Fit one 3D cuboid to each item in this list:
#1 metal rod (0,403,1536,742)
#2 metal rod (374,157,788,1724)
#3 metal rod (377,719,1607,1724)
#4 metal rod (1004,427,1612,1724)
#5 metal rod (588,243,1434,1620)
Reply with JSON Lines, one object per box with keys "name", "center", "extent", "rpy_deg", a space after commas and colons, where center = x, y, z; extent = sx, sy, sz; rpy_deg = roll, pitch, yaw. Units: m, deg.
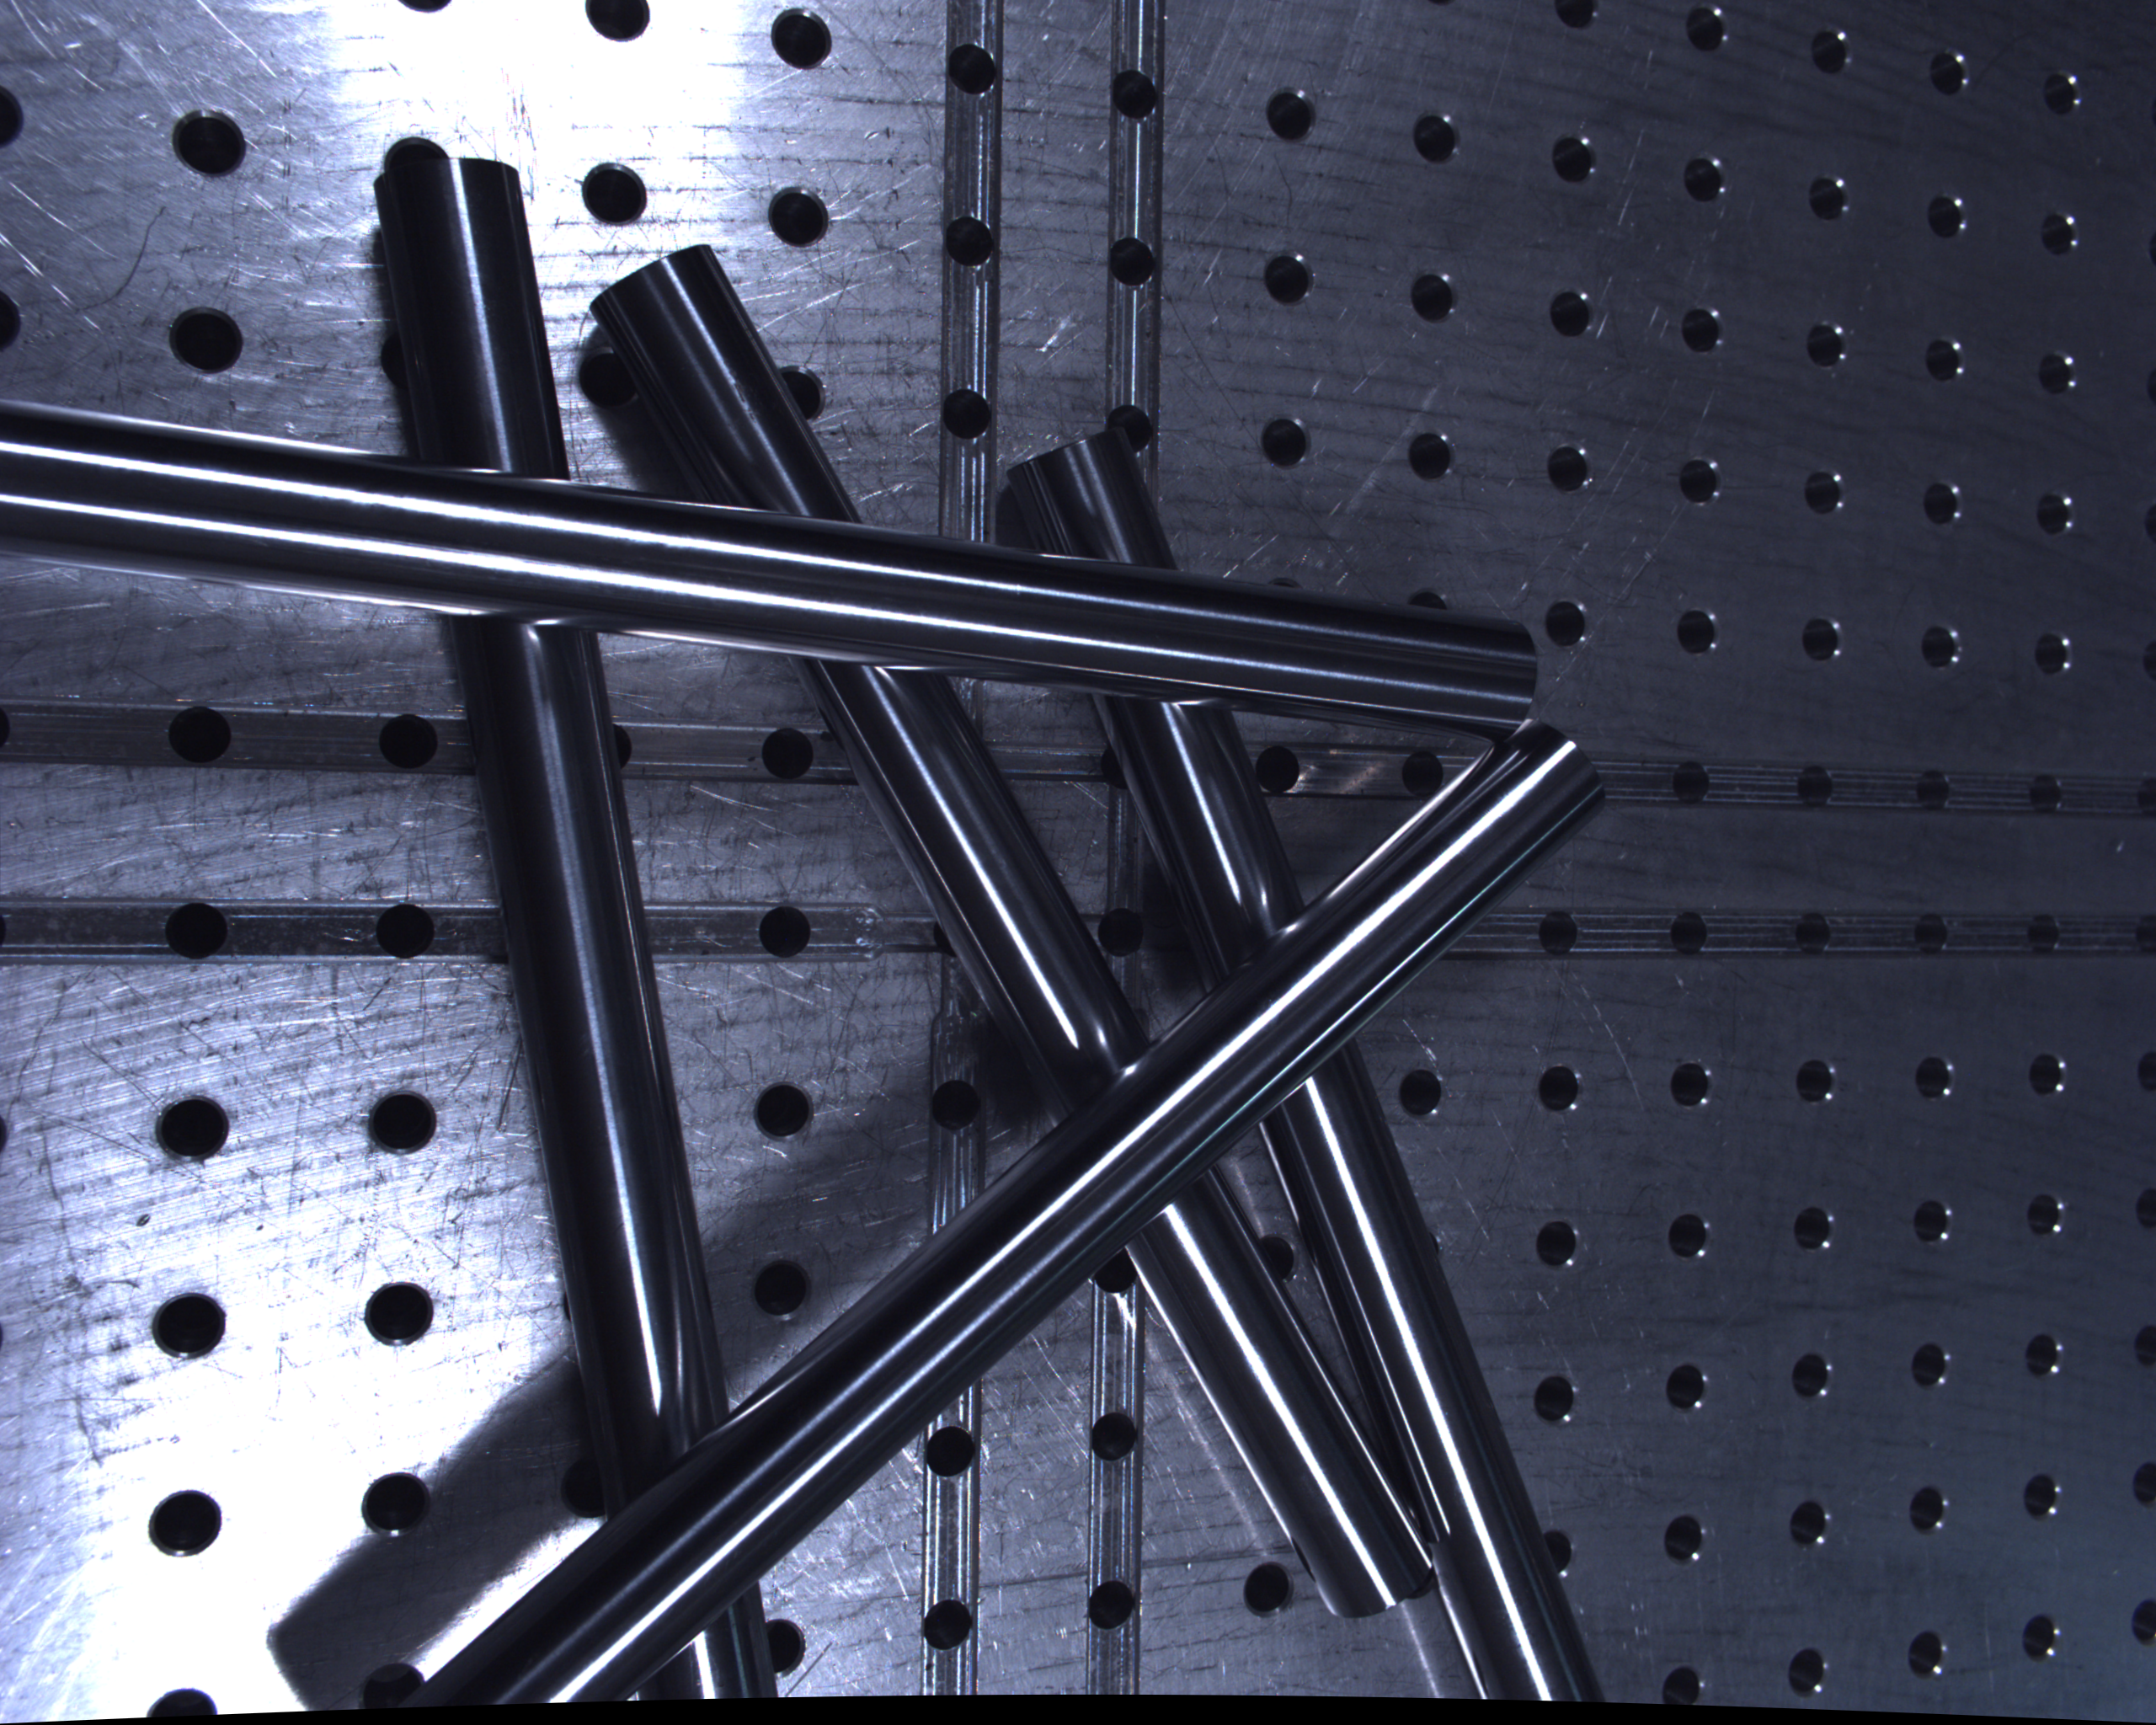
{"name": "metal rod", "center": [-0.056, -0.049, 0.366], "extent": [0.302, 0.025, 0.025], "rpy_deg": [5, 88, -20]}
{"name": "metal rod", "center": [-0.089, 0.025, 0.380], "extent": [0.025, 0.025, 0.298], "rpy_deg": [-10, 94, -20]}
{"name": "metal rod", "center": [-0.013, 0.074, 0.382], "extent": [0.301, 0.025, 0.025], "rpy_deg": [-40, 103, -16]}
{"name": "metal rod", "center": [0.051, 0.056, 0.433], "extent": [0.025, 0.025, 0.298], "rpy_deg": [-24, 98, -19]}
{"name": "metal rod", "center": [-0.008, 0.021, 0.410], "extent": [0.025, 0.025, 0.299], "rpy_deg": [-32, 101, -17]}
